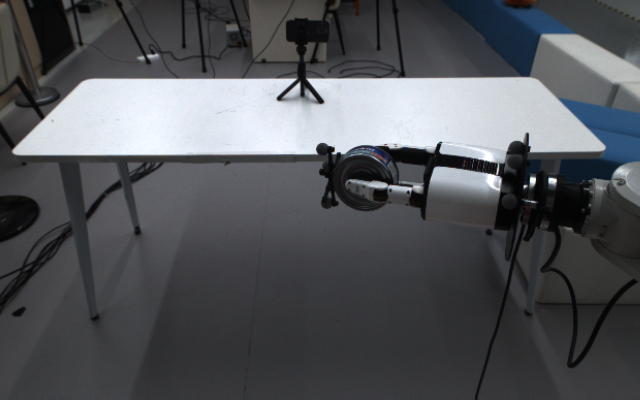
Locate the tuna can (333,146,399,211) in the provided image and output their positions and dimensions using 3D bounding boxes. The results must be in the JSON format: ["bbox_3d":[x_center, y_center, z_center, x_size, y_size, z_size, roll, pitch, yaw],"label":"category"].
[{"bbox_3d":[0.064,-0.027,0.651,0.085,0.085,0.034,12,28,14],"label":"tuna can"}]
